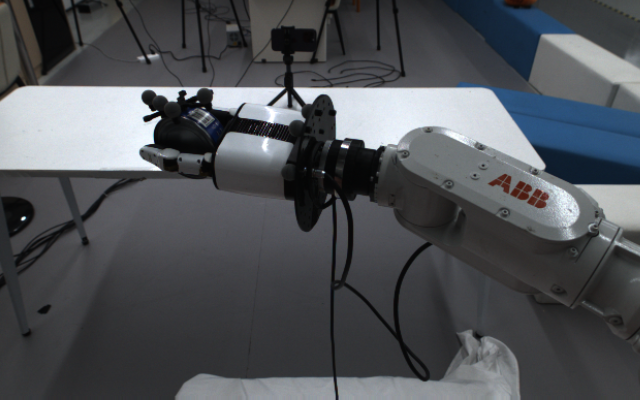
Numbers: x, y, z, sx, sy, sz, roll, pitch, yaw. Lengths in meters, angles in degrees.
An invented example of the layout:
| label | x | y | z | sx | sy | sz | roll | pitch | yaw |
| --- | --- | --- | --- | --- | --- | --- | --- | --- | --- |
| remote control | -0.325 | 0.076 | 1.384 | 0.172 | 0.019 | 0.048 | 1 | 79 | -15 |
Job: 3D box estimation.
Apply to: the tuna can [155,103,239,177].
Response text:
| label | x | y | z | sx | sy | sz | roll | pitch | yaw |
| --- | --- | --- | --- | --- | --- | --- | --- | --- | --- |
| tuna can | -0.153 | -0.070 | 0.585 | 0.085 | 0.085 | 0.034 | 14 | 39 | 16 |
